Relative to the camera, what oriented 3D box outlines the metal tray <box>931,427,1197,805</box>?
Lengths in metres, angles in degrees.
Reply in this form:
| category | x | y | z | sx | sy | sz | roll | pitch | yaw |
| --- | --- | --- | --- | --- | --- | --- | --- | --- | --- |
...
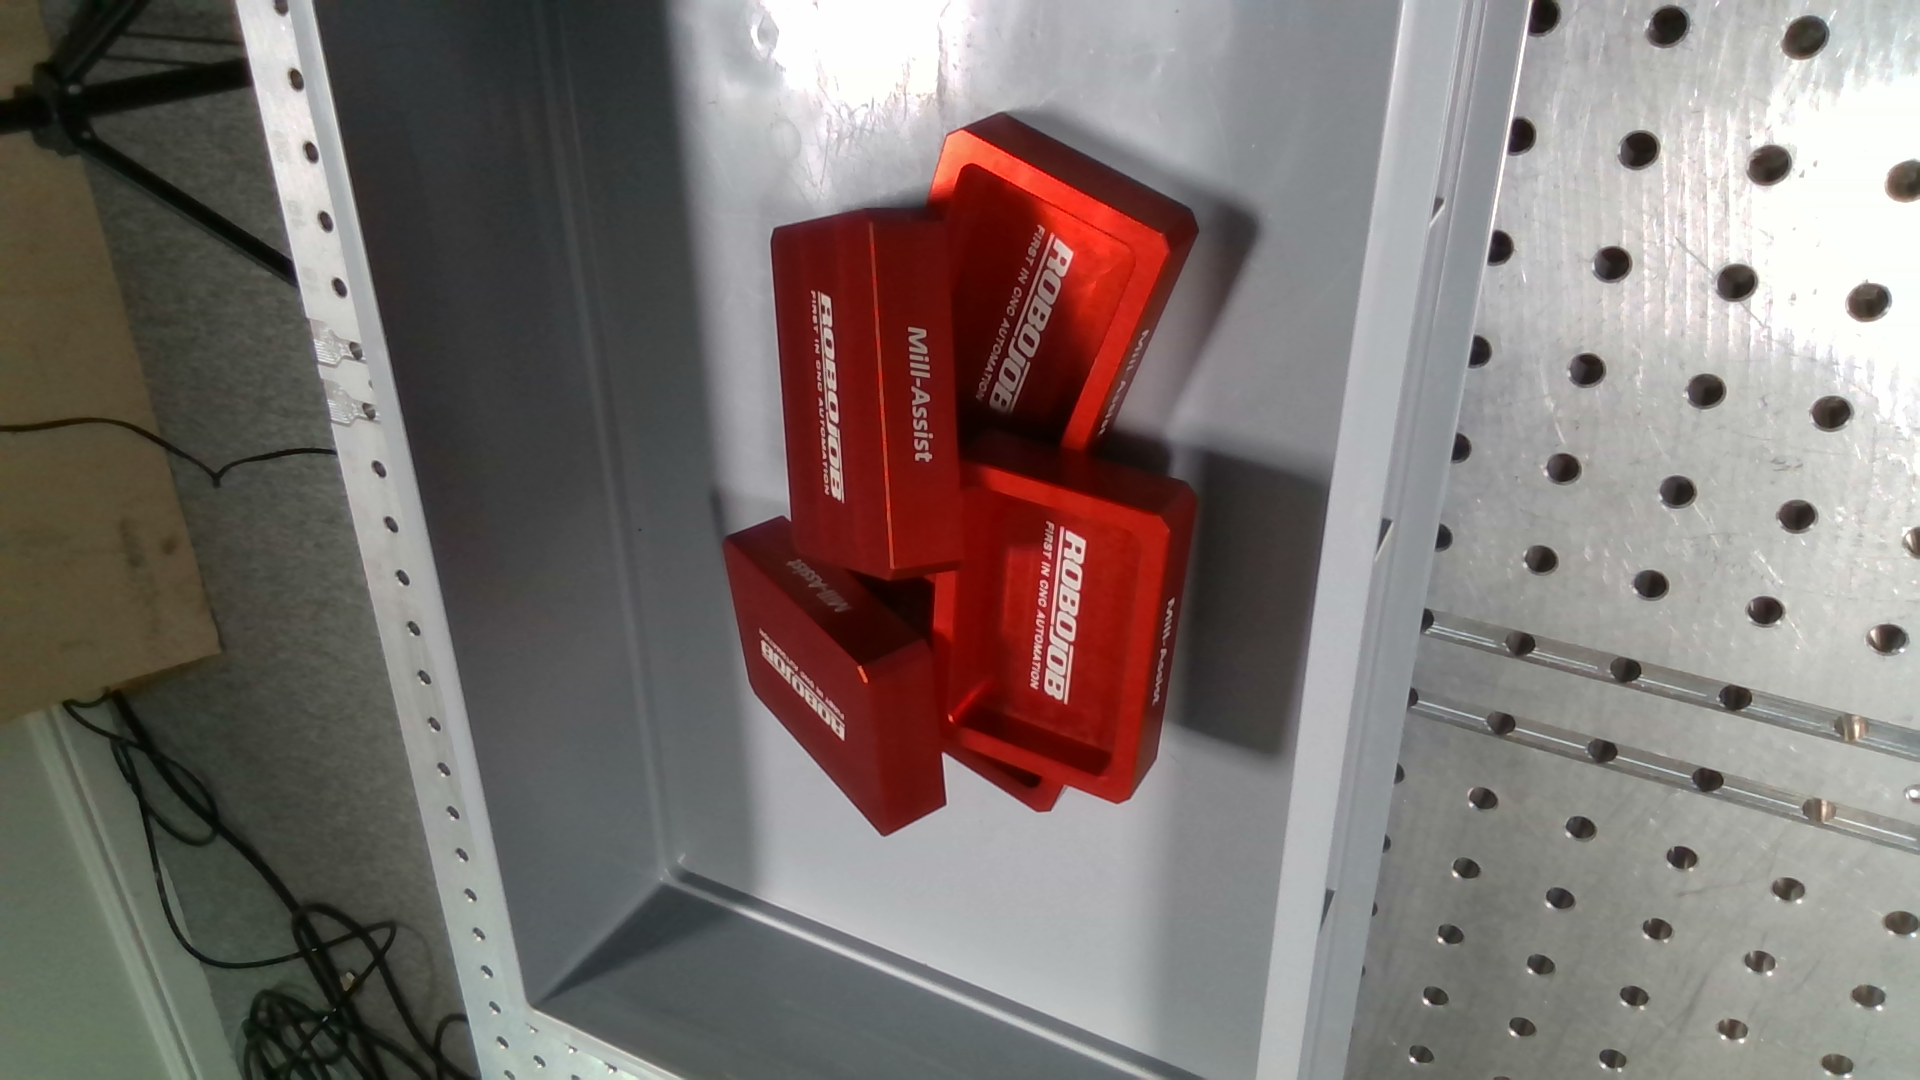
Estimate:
| category | x | y | z | sx | sy | sz | roll | pitch | yaw |
| --- | --- | --- | --- | --- | --- | --- | --- | --- | --- |
| metal tray | 0.036 | 0.030 | 0.530 | 0.090 | 0.030 | 0.130 | 17 | 123 | 23 |

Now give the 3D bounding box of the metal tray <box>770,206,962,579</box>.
| category | x | y | z | sx | sy | sz | roll | pitch | yaw |
| --- | --- | --- | --- | --- | --- | --- | --- | --- | --- |
| metal tray | -0.037 | -0.056 | 0.523 | 0.090 | 0.030 | 0.130 | 13 | 109 | 59 |

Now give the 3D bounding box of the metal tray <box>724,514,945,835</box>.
| category | x | y | z | sx | sy | sz | roll | pitch | yaw |
| --- | --- | --- | --- | --- | --- | --- | --- | --- | --- |
| metal tray | -0.057 | 0.056 | 0.599 | 0.130 | 0.030 | 0.090 | 37 | 141 | 46 |

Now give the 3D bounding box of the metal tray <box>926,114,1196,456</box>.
| category | x | y | z | sx | sy | sz | roll | pitch | yaw |
| --- | --- | --- | --- | --- | --- | --- | --- | --- | --- |
| metal tray | 0.021 | -0.079 | 0.517 | 0.090 | 0.030 | 0.130 | 31 | 127 | 13 |

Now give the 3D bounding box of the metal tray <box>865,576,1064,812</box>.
| category | x | y | z | sx | sy | sz | roll | pitch | yaw |
| --- | --- | --- | --- | --- | --- | --- | --- | --- | --- |
| metal tray | 0.003 | 0.049 | 0.600 | 0.130 | 0.030 | 0.090 | 31 | 127 | 14 |
